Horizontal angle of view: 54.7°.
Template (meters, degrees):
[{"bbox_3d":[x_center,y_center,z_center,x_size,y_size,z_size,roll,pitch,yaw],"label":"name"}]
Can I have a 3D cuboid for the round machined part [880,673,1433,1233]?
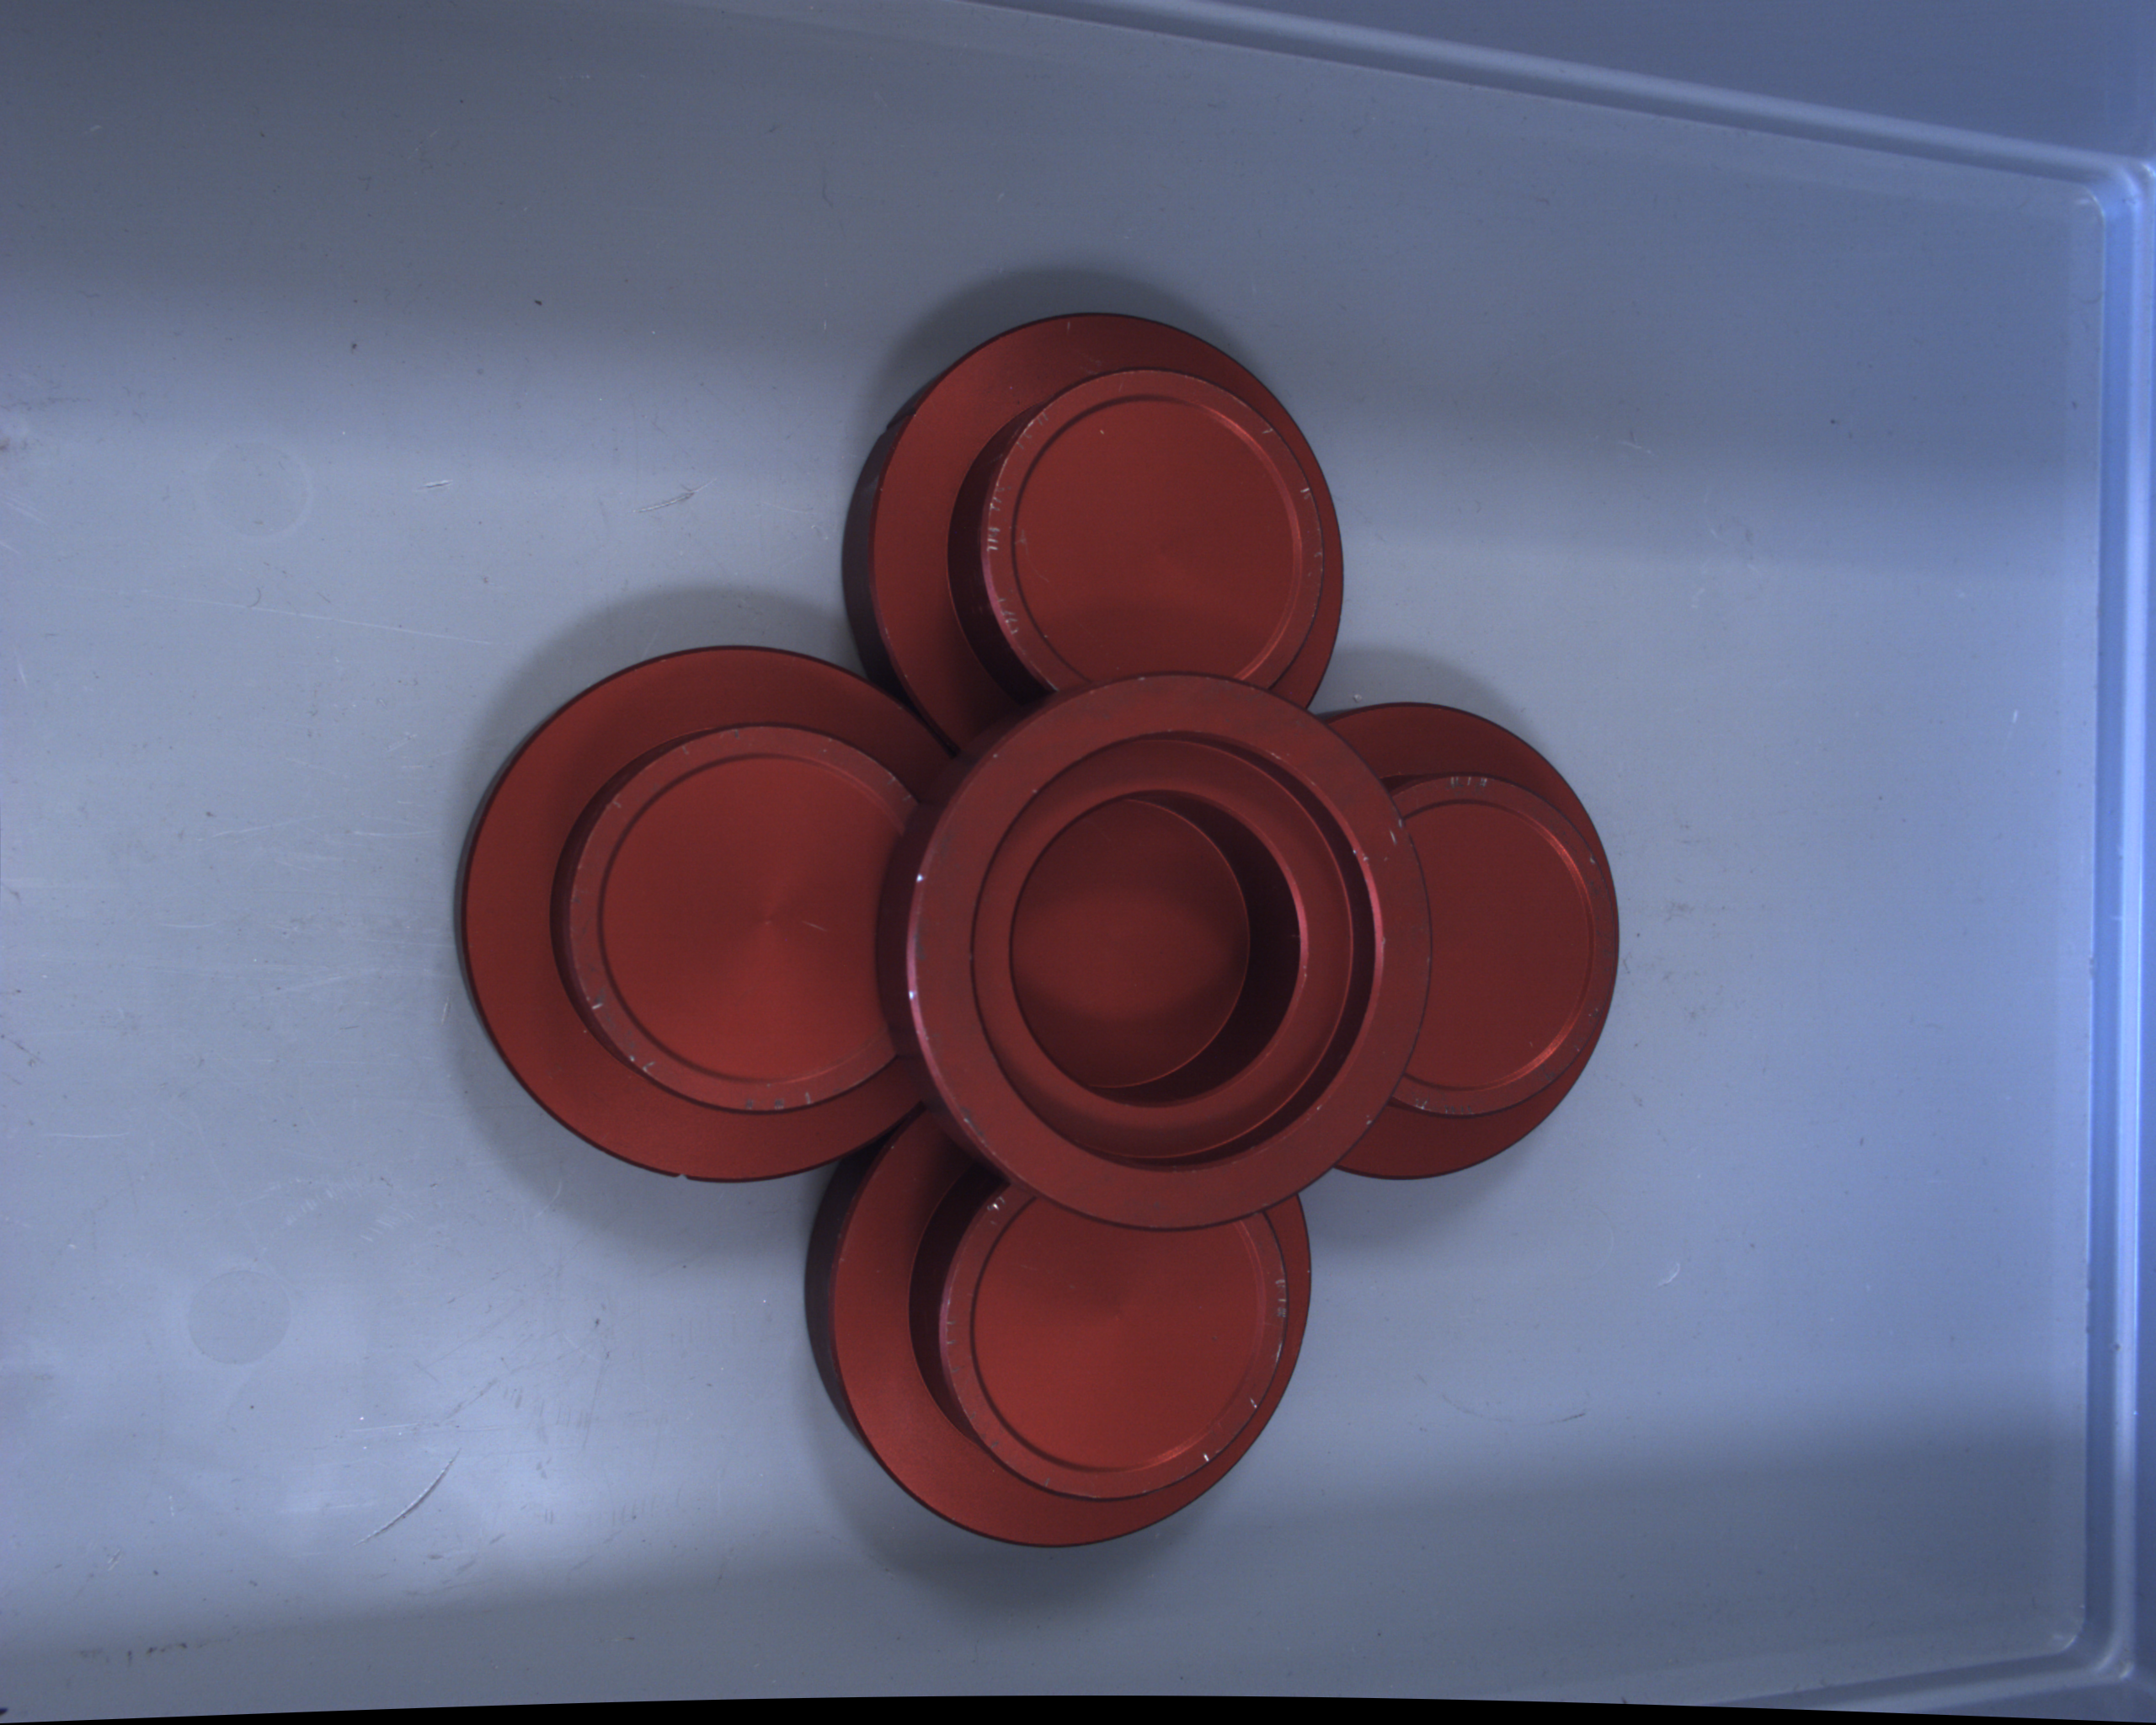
[{"bbox_3d":[0.011,0.016,0.381,0.099,0.042,0.097,0,90,-20],"label":"round machined part"}]

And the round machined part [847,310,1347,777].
[{"bbox_3d":[0.008,-0.058,0.401,0.099,0.042,0.097,0,90,-20],"label":"round machined part"}]

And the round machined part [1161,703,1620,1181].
[{"bbox_3d":[0.069,0.016,0.424,0.099,0.042,0.097,0,90,-20],"label":"round machined part"}]

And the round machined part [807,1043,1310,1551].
[{"bbox_3d":[0.001,0.083,0.400,0.099,0.042,0.097,1,88,-21],"label":"round machined part"}]

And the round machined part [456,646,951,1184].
[{"bbox_3d":[-0.060,0.009,0.377,0.099,0.042,0.097,0,90,-20],"label":"round machined part"}]
